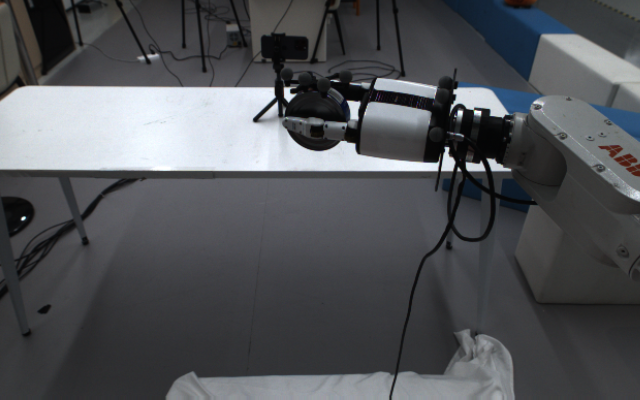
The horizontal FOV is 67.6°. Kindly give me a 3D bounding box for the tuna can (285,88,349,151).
[{"bbox_3d":[-0.002,-0.113,0.658,0.085,0.085,0.034,11,34,12],"label":"tuna can"}]
